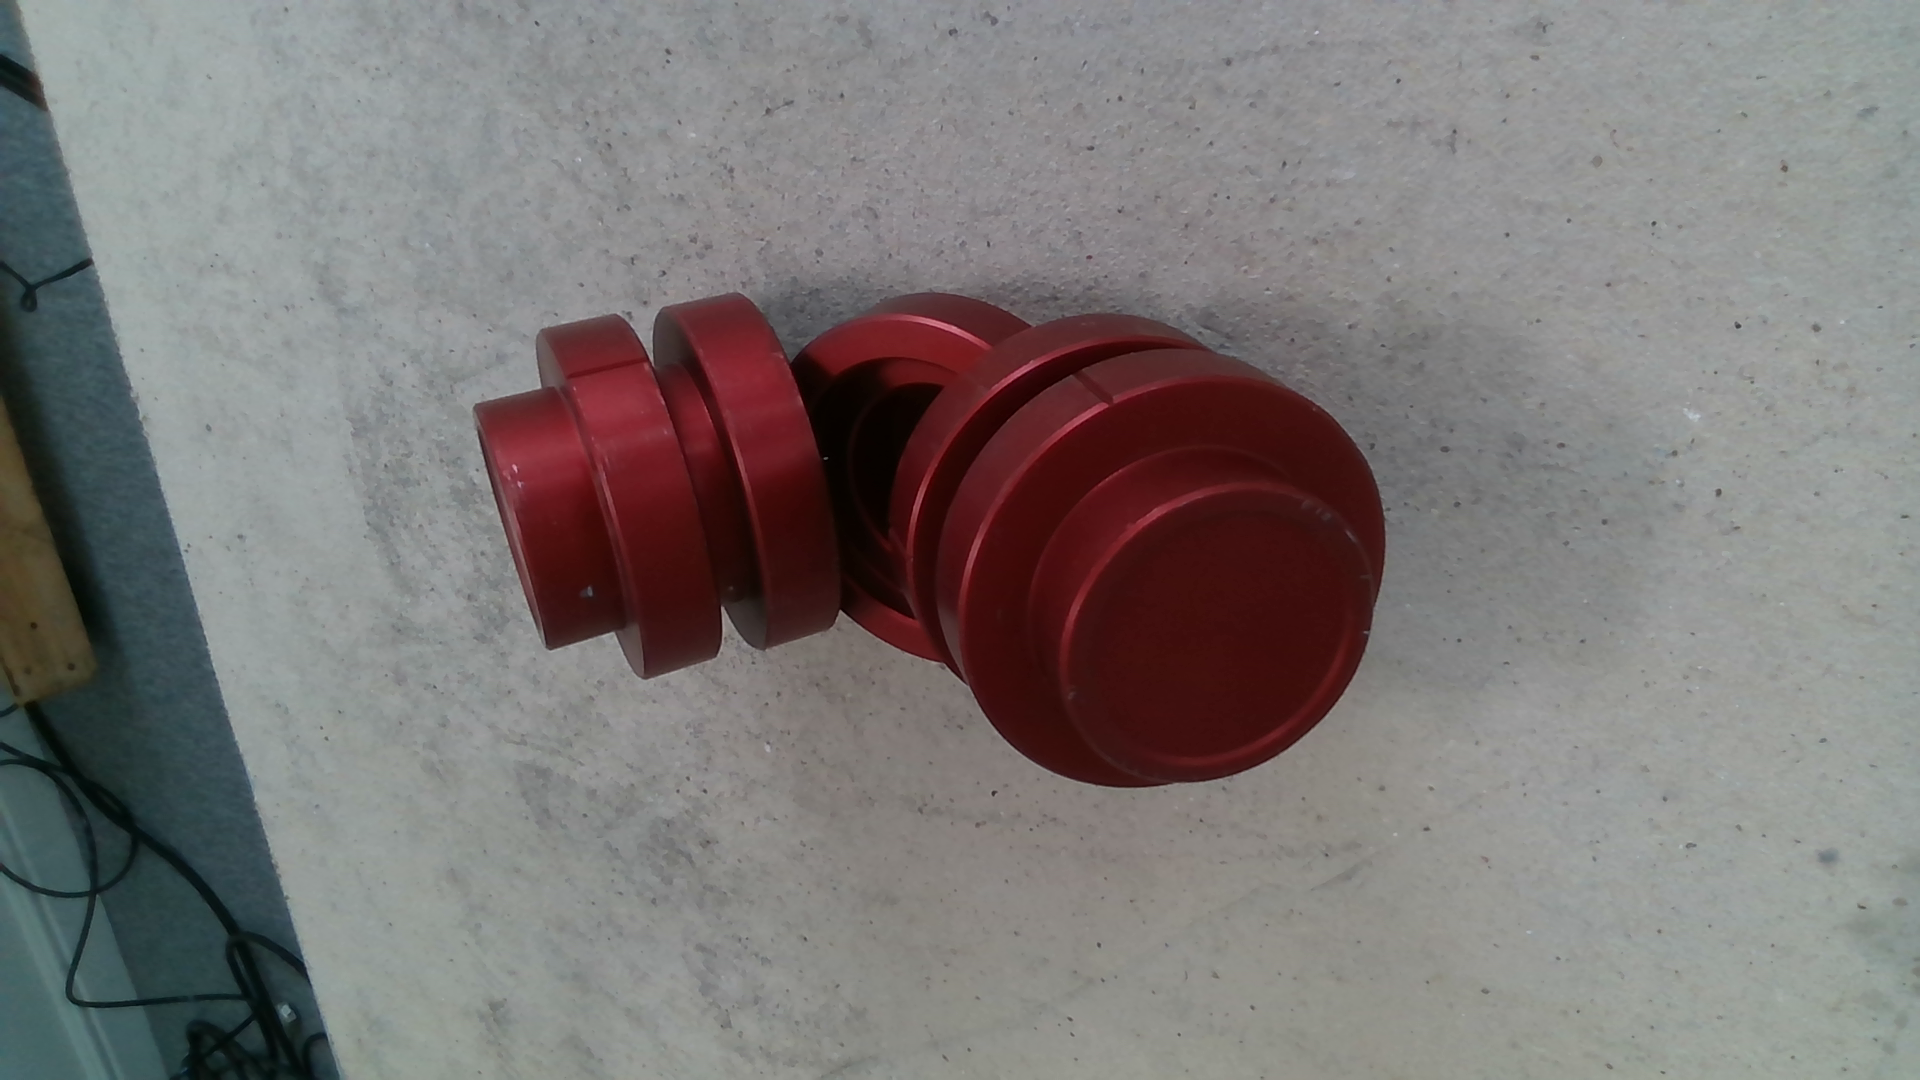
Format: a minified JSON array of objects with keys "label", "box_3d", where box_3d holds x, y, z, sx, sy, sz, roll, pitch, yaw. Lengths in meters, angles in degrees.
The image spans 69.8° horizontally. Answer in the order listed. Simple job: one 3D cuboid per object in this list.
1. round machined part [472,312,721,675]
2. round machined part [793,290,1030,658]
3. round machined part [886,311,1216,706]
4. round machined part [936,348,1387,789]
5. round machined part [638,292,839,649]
[{"label":"round machined part","box_3d":[-0.101,-0.009,0.373,0.098,0.042,0.098,52,151,44]},{"label":"round machined part","box_3d":[0.000,-0.020,0.368,0.098,0.042,0.098,15,122,25]},{"label":"round machined part","box_3d":[0.035,0.000,0.321,0.098,0.042,0.098,-6,115,-13]},{"label":"round machined part","box_3d":[0.047,0.012,0.294,0.098,0.042,0.098,-6,115,-13]},{"label":"round machined part","box_3d":[-0.071,-0.016,0.381,0.098,0.042,0.098,163,91,-70]}]
